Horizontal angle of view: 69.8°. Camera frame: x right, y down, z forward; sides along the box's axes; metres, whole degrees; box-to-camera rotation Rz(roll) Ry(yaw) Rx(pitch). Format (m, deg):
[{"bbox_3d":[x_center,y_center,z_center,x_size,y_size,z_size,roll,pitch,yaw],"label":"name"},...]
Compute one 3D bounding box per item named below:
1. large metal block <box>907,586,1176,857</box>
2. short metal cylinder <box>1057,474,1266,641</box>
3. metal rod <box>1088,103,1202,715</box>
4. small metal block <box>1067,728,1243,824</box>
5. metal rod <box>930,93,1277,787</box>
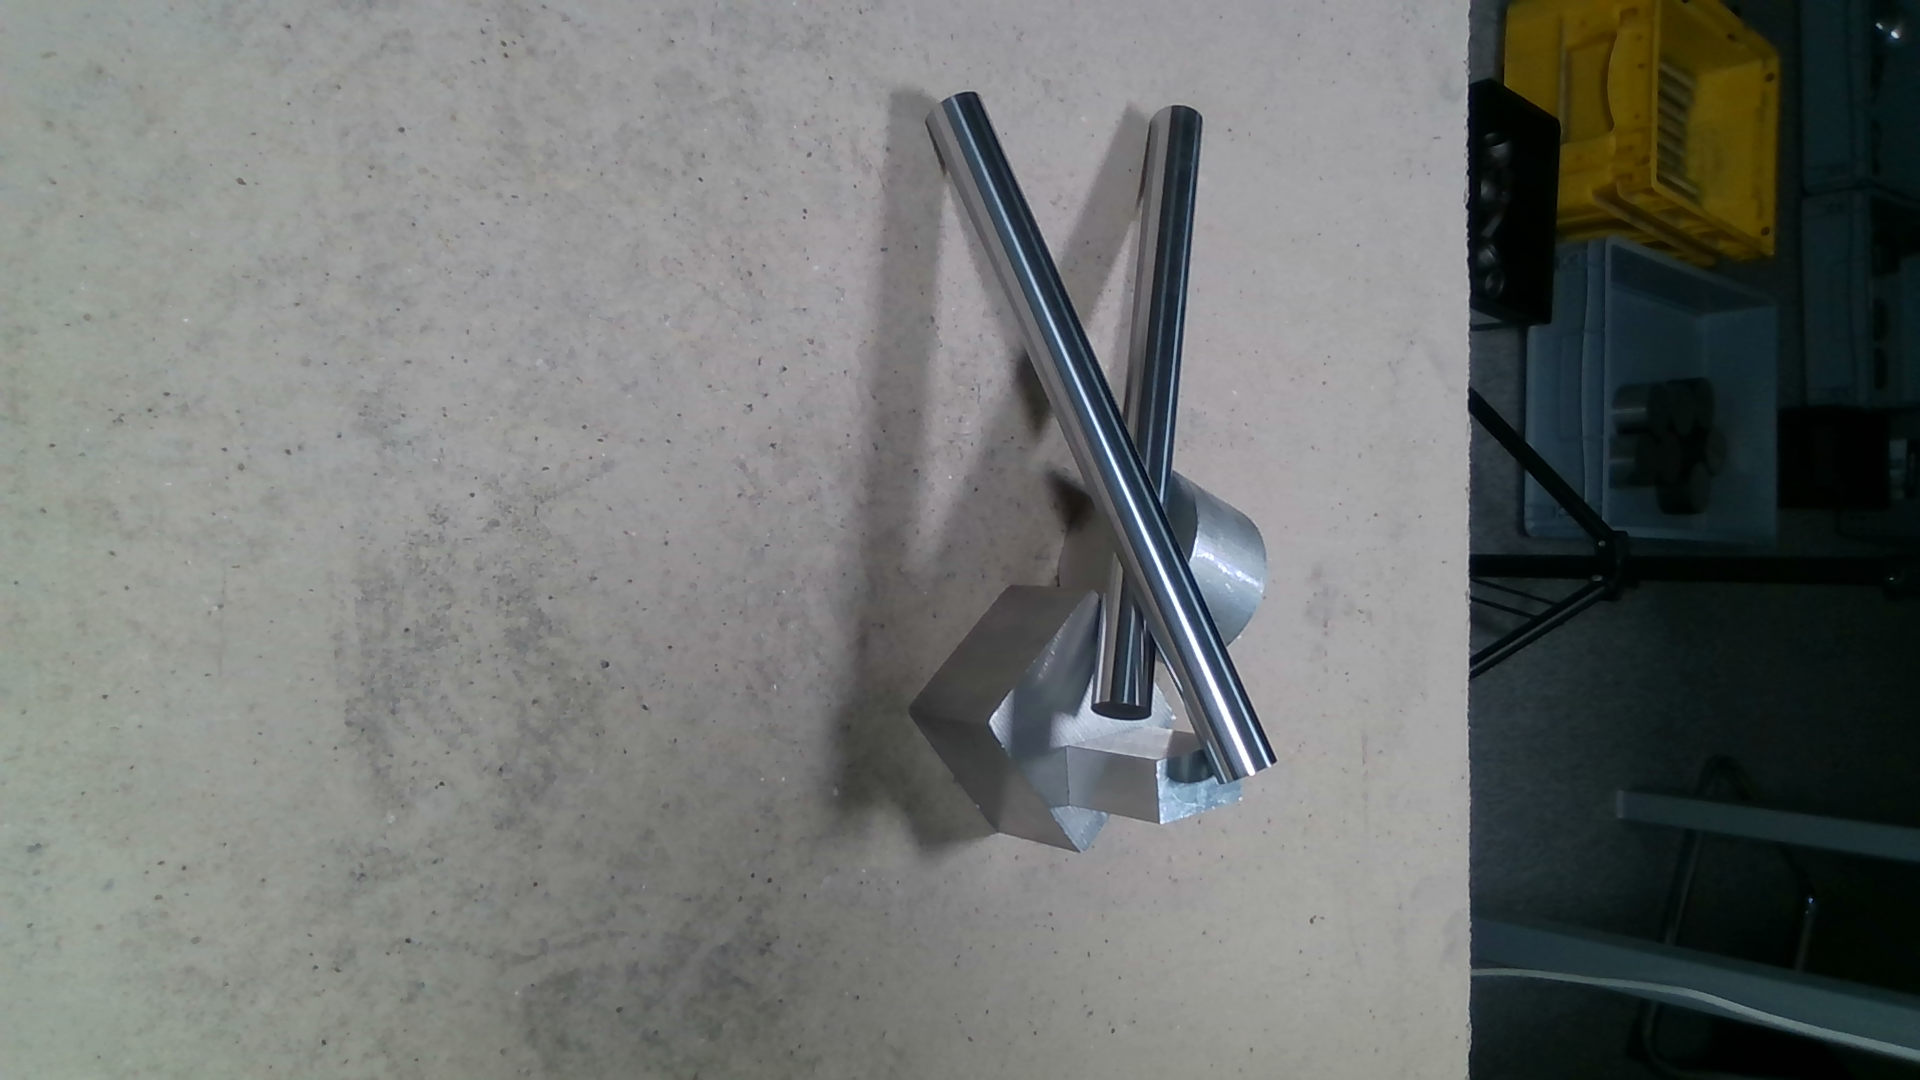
[{"bbox_3d":[0.037,0.077,0.596,0.080,0.050,0.080,-49,118,-29],"label":"large metal block"},{"bbox_3d":[0.091,0.012,0.626,0.050,0.080,0.080,26,73,-37],"label":"short metal cylinder"},{"bbox_3d":[0.085,-0.069,0.618,0.025,0.025,0.299,27,62,-37],"label":"metal rod"},{"bbox_3d":[0.080,0.096,0.566,0.050,0.050,0.025,-6,93,-40],"label":"small metal block"},{"bbox_3d":[0.055,-0.045,0.560,0.025,0.025,0.300,-16,79,-39],"label":"metal rod"}]
